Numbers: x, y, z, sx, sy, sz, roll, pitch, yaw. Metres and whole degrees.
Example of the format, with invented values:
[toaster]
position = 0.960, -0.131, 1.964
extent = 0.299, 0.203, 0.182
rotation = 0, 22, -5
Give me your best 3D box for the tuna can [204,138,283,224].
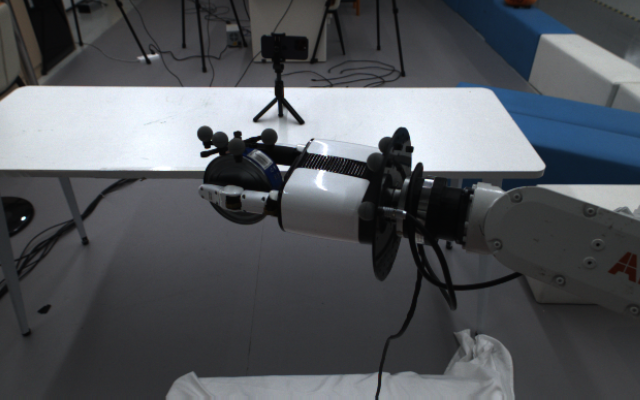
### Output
[tuna can]
position = -0.084, -0.018, 0.548
extent = 0.085, 0.085, 0.034
rotation = 14, 30, 16
